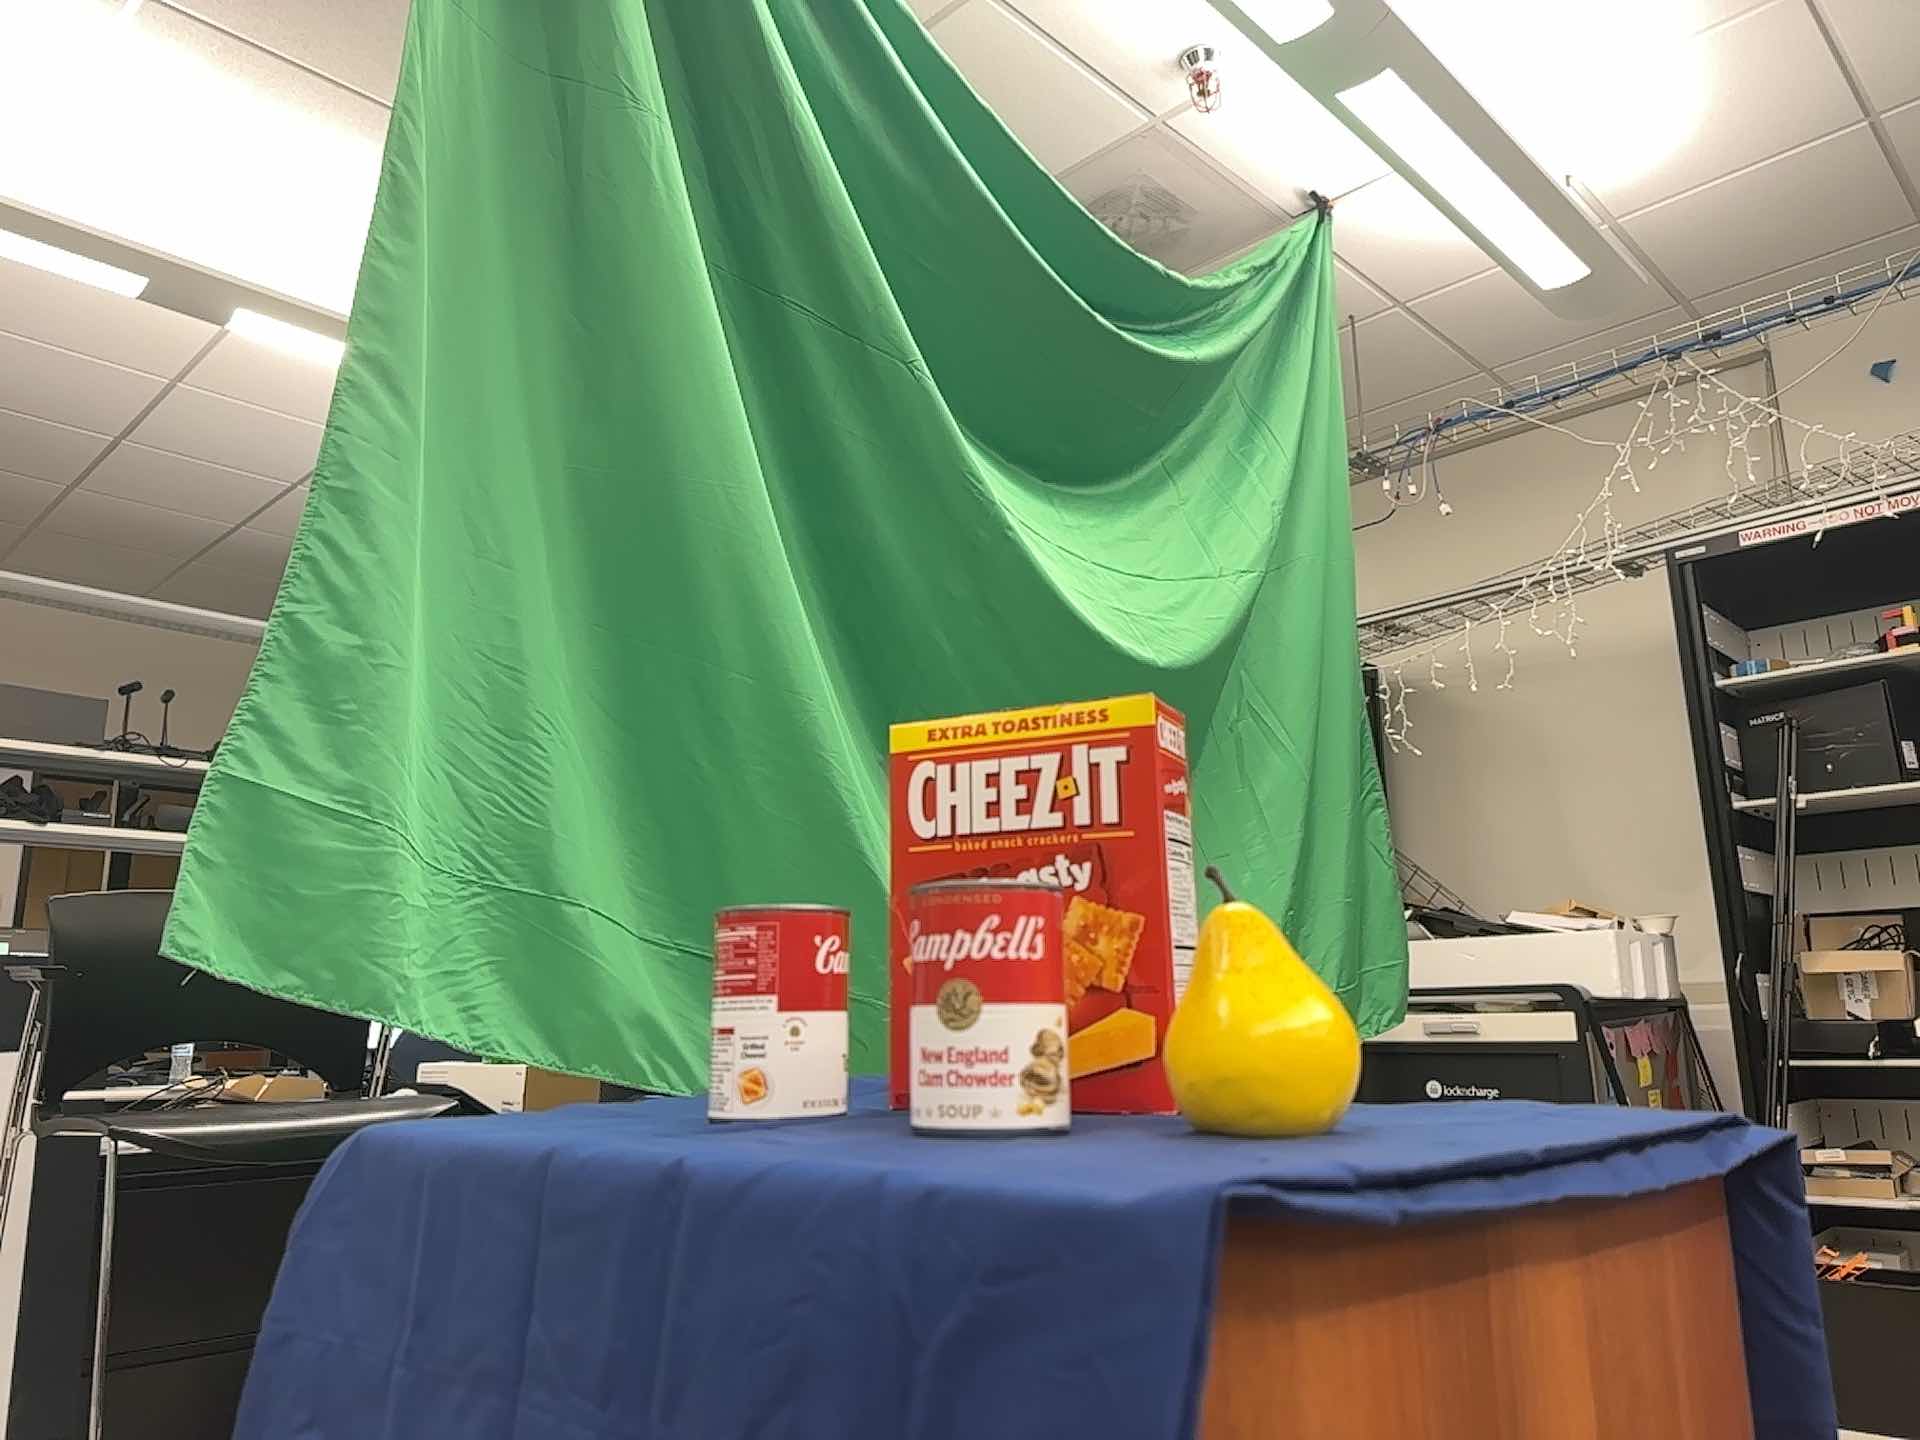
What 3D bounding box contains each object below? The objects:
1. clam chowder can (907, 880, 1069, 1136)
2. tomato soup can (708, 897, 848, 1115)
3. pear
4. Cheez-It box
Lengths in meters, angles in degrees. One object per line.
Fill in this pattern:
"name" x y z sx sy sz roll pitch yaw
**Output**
"clam chowder can" 0.011 0.122 0.576 0.068 0.102 0.068 -1 -12 0
"tomato soup can" -0.090 0.141 0.663 0.067 0.102 0.067 0 -13 0
"pear" 0.120 0.113 0.547 0.080 0.111 0.080 0 -10 0
"Cheez-It box" 0.047 0.103 0.752 0.159 0.214 0.062 -6 -12 26
